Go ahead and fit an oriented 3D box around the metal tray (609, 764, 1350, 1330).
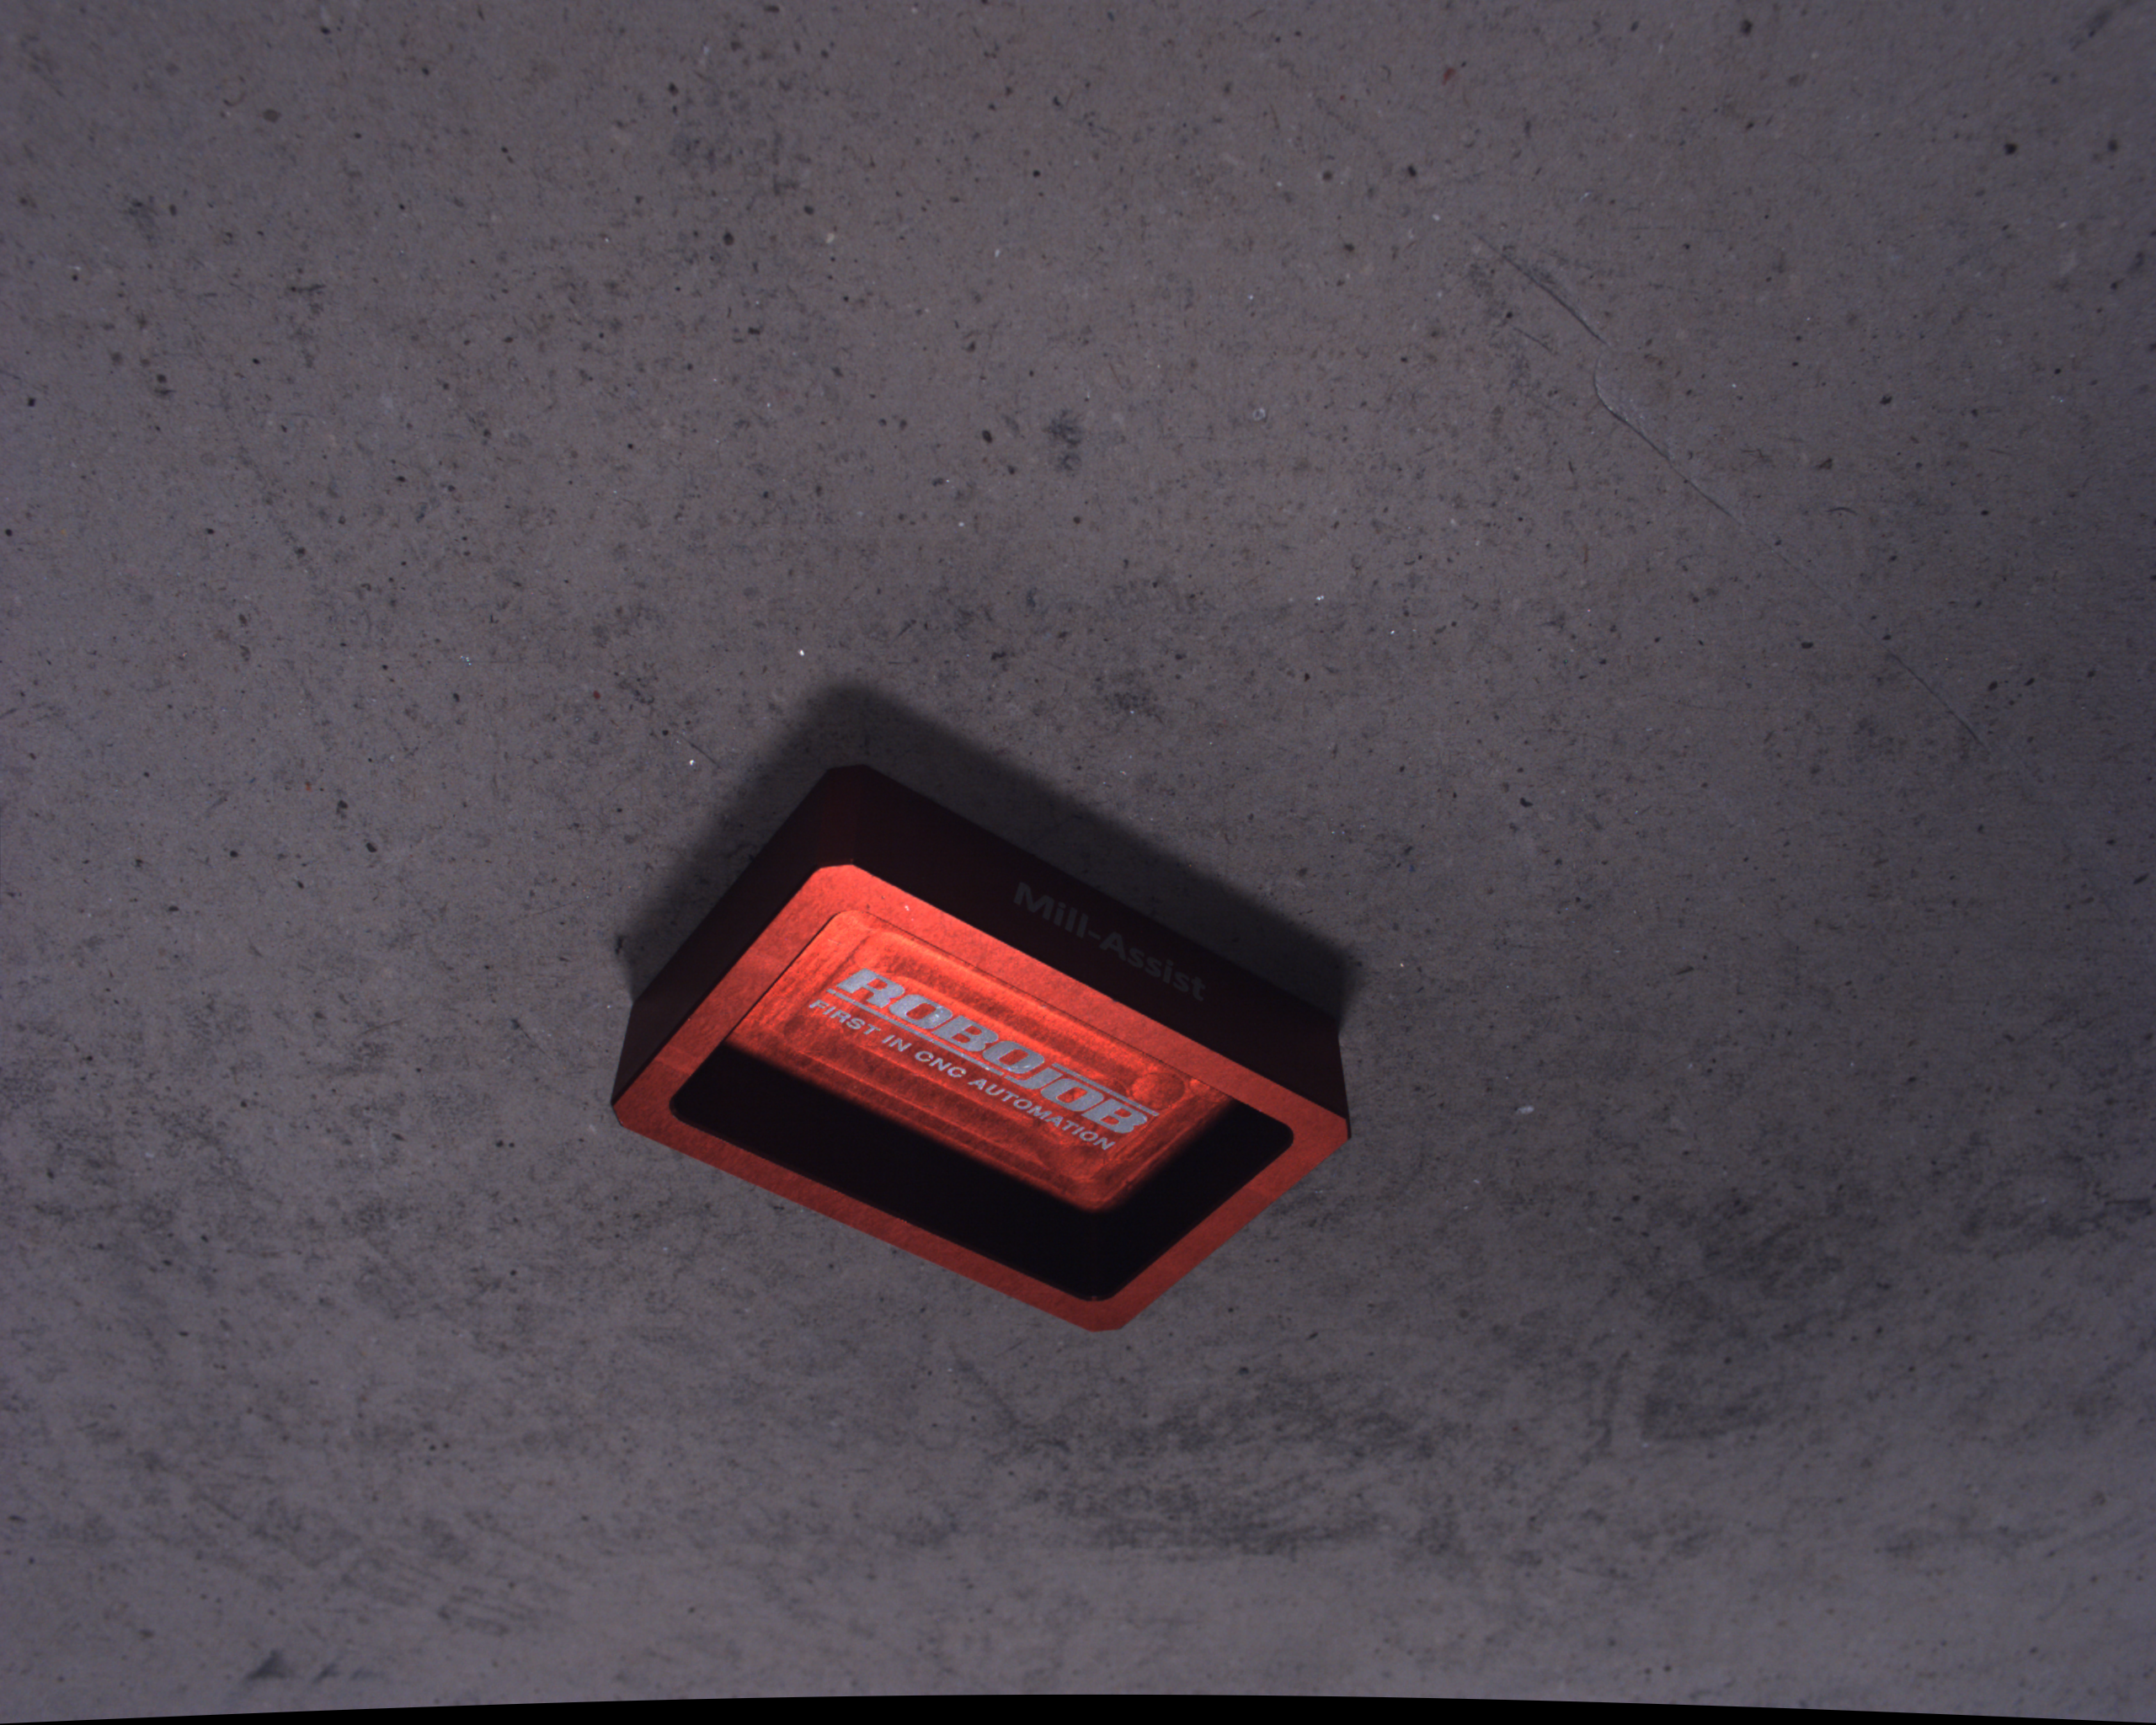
[{"bbox_3d":[-0.020,0.044,0.443,0.131,0.030,0.090,29,124,-23],"label":"metal tray"}]
